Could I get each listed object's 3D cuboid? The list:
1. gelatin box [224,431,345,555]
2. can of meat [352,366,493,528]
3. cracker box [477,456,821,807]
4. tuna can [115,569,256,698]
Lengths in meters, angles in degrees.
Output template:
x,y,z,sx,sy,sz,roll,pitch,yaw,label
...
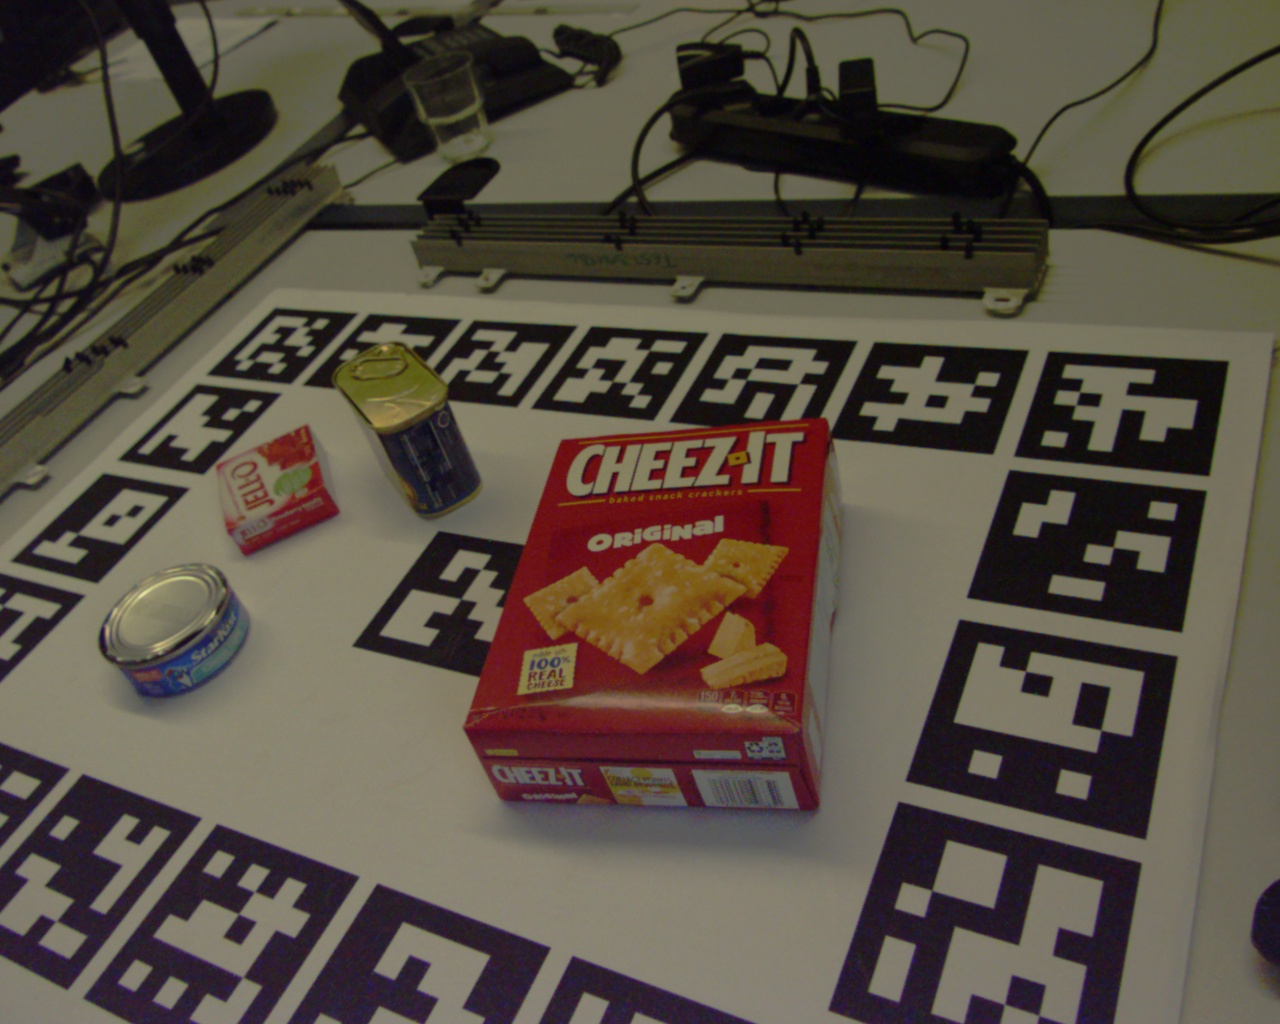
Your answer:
x,y,z,sx,sy,sz,roll,pitch,yaw,label
-0.271,-0.017,0.865,0.073,0.030,0.090,-23,43,-10,gelatin box
-0.156,-0.047,0.828,0.057,0.083,0.103,-32,41,-18,can of meat
0.015,0.060,0.652,0.165,0.071,0.213,-3,41,15,cracker box
-0.301,0.081,0.759,0.086,0.033,0.086,-12,43,10,tuna can
